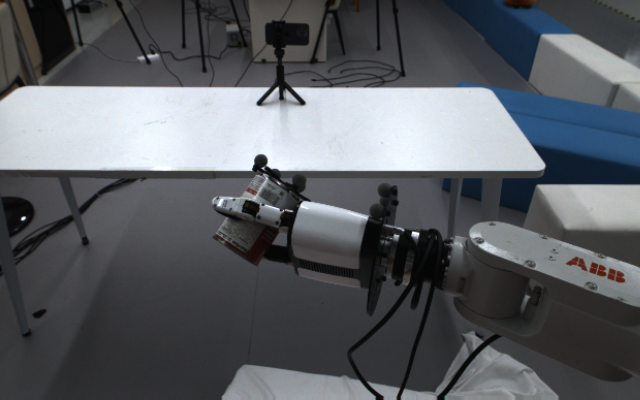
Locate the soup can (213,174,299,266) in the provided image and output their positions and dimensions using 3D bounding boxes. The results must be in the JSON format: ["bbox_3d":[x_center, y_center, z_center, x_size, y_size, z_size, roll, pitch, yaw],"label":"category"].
[{"bbox_3d":[-0.079,0.025,0.619,0.067,0.067,0.101,27,78,31],"label":"soup can"}]
